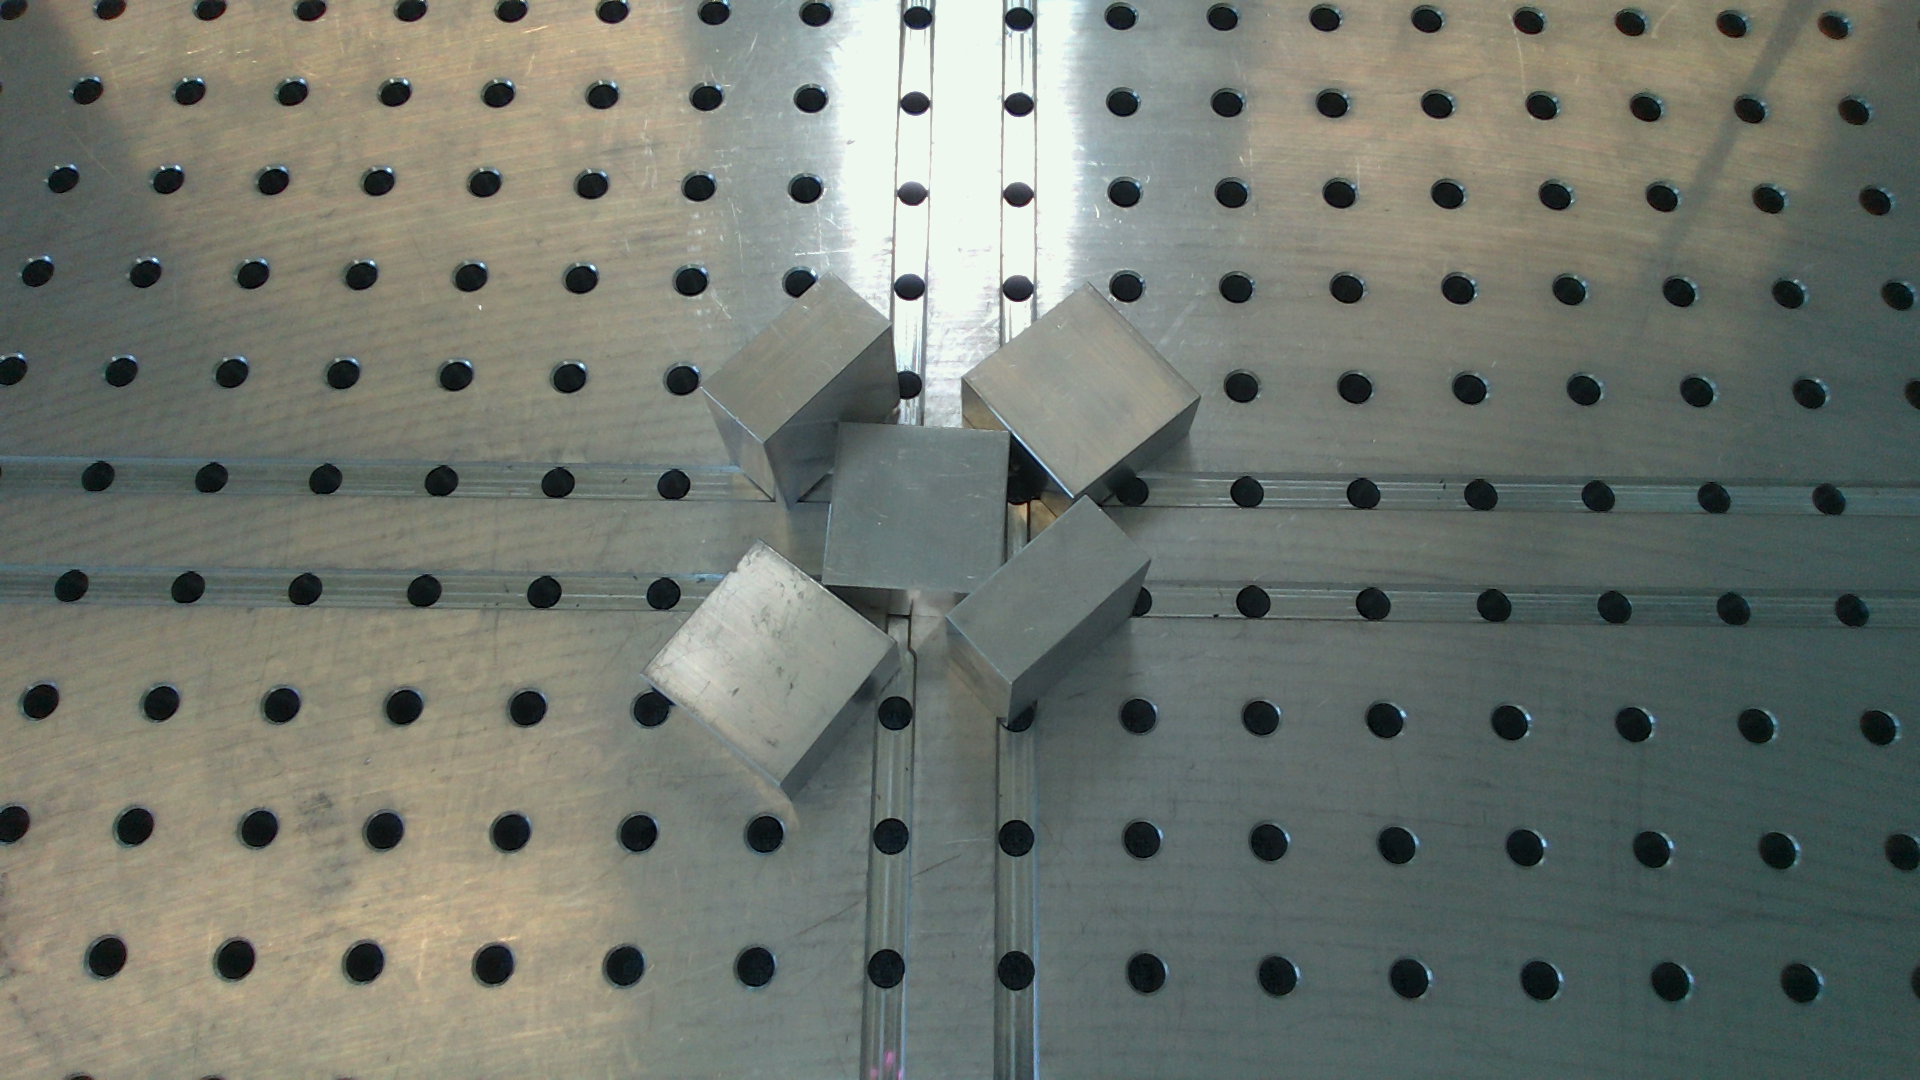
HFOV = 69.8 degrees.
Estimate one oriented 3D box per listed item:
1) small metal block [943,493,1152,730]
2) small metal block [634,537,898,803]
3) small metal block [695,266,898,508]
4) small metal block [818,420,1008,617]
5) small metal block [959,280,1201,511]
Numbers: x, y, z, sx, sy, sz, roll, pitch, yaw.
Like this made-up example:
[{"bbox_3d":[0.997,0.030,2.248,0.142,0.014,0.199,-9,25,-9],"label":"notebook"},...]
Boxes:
[{"bbox_3d":[0.023,0.021,0.376,0.050,0.050,0.025,-40,74,-13],"label":"small metal block"},{"bbox_3d":[-0.053,0.036,0.383,0.050,0.025,0.050,36,73,12],"label":"small metal block"},{"bbox_3d":[-0.045,-0.043,0.399,0.025,0.050,0.050,42,76,13],"label":"small metal block"},{"bbox_3d":[-0.012,-0.006,0.398,0.050,0.025,0.050,3,69,2],"label":"small metal block"},{"bbox_3d":[0.035,-0.041,0.412,0.050,0.025,0.050,-38,74,-12],"label":"small metal block"}]
